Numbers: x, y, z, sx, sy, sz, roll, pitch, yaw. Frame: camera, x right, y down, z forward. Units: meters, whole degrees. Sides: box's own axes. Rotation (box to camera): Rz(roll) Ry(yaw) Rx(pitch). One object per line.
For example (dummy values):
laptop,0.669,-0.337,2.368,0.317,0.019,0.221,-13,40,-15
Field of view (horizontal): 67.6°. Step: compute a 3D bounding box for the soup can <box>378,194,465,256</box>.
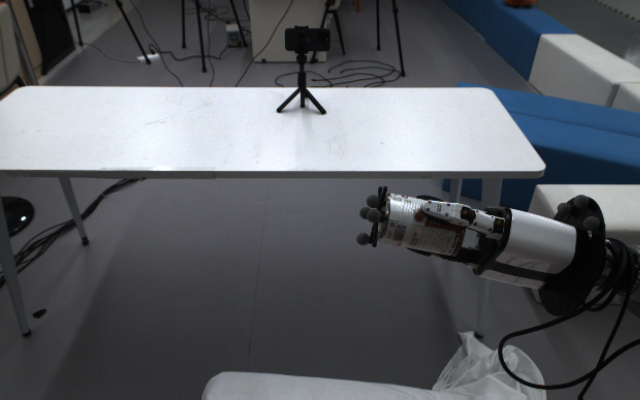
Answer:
soup can,0.132,0.031,0.633,0.101,0.067,0.067,11,35,-2
